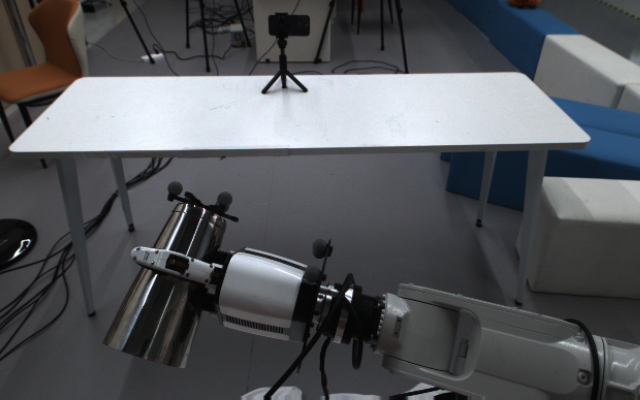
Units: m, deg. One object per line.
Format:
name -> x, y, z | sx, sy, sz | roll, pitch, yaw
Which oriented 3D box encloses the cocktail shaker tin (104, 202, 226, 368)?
cocktail shaker tin -> -0.169, 0.094, 0.555 | 0.093, 0.093, 0.170 | 13, 70, 15
